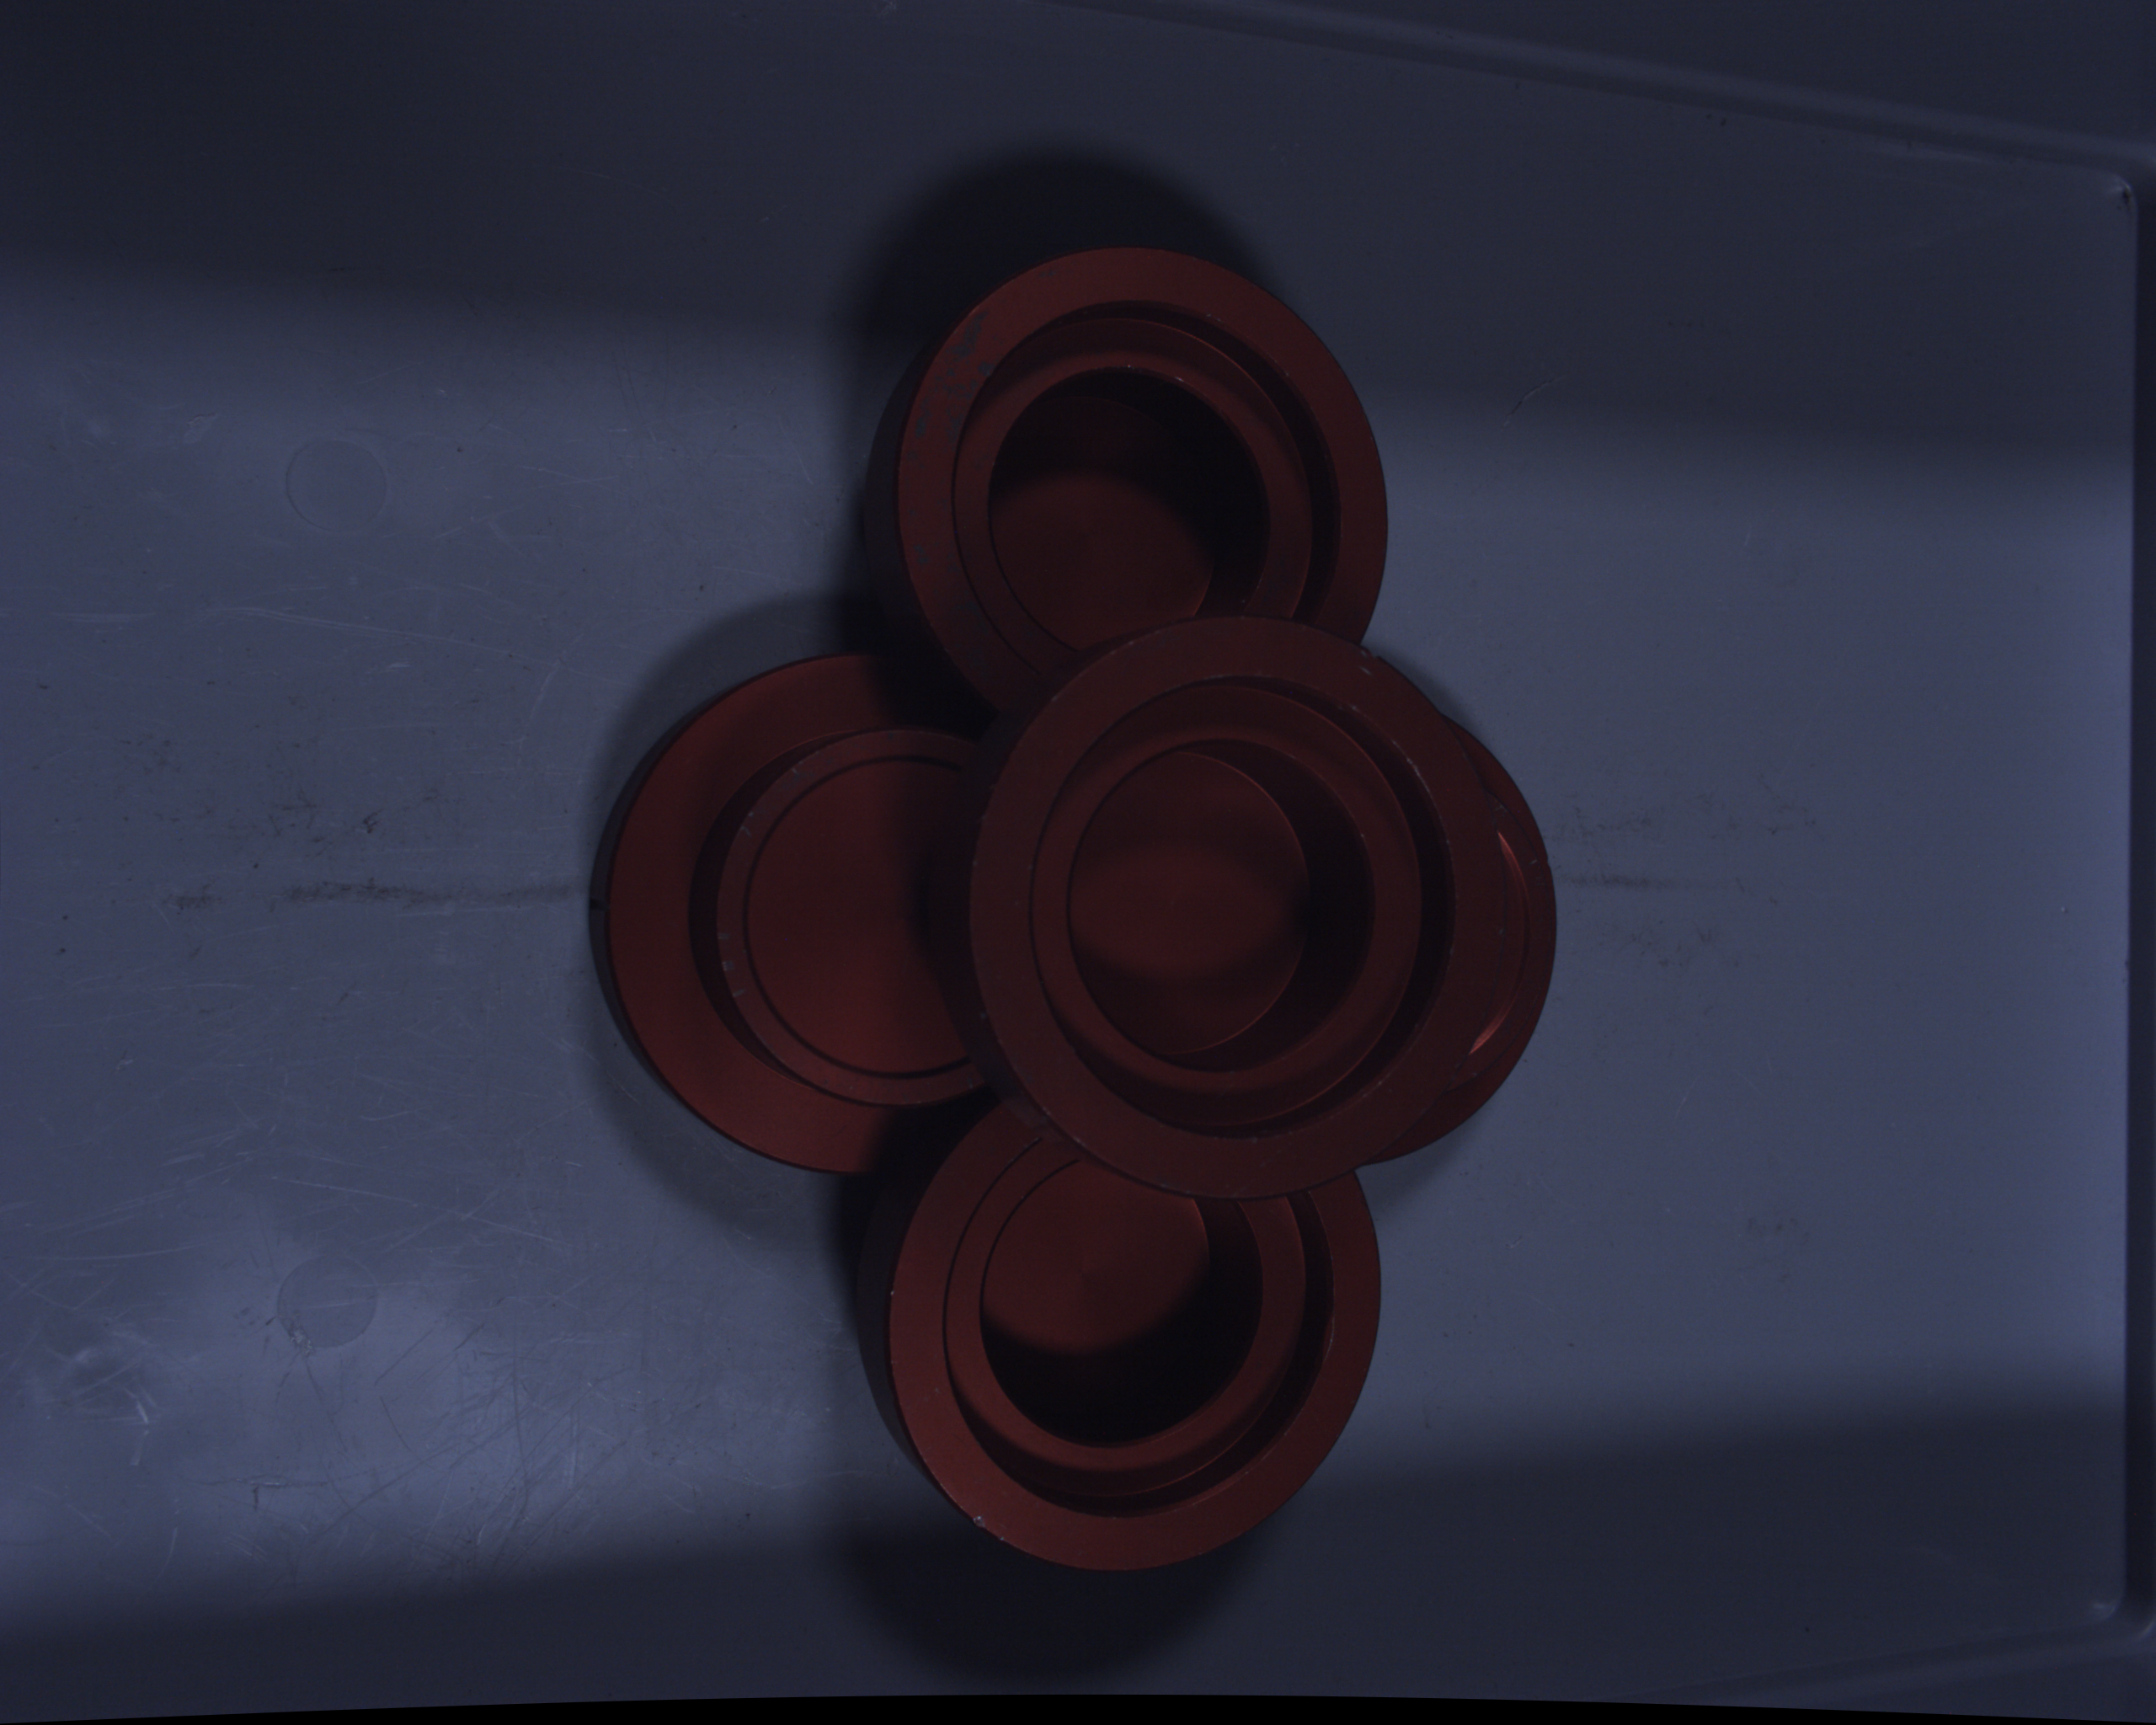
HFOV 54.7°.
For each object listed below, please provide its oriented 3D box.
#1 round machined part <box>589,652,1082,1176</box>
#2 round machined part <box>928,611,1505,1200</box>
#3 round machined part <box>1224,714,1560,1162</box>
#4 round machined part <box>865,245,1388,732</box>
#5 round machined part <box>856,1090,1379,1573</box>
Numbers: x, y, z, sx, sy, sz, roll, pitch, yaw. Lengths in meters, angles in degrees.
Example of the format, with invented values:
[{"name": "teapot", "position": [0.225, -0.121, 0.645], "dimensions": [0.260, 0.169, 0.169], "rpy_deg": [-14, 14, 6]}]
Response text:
[{"name": "round machined part", "position": [-0.038, 0.010, 0.386], "dimensions": [0.099, 0.042, 0.097], "rpy_deg": [0, 90, -21]}, {"name": "round machined part", "position": [0.021, 0.007, 0.363], "dimensions": [0.099, 0.042, 0.097], "rpy_deg": [0, 90, -21]}, {"name": "round machined part", "position": [0.056, 0.013, 0.421], "dimensions": [0.099, 0.042, 0.097], "rpy_deg": [0, 90, -21]}, {"name": "round machined part", "position": [0.006, -0.065, 0.402], "dimensions": [0.099, 0.042, 0.097], "rpy_deg": [0, 90, -21]}, {"name": "round machined part", "position": [0.005, 0.082, 0.402], "dimensions": [0.099, 0.042, 0.097], "rpy_deg": [0, 90, -21]}]
